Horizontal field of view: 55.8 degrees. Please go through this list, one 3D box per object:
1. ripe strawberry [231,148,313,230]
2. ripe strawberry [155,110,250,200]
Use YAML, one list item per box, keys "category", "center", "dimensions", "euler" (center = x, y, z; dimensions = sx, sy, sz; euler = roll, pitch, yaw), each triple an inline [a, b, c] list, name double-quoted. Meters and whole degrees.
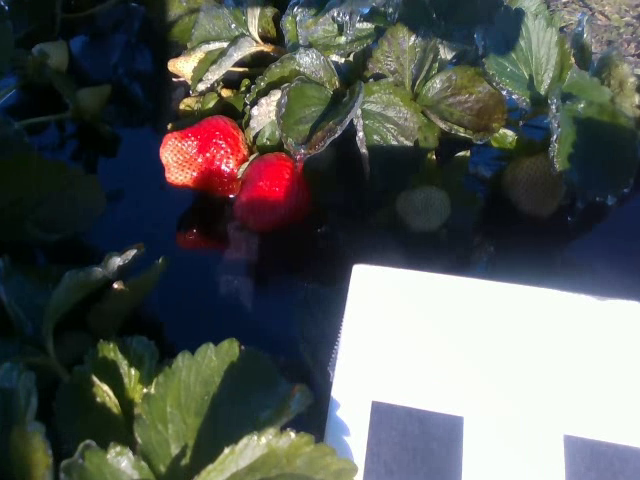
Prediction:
- category: "ripe strawberry"
  center: [-0.031, -0.033, 0.346]
  dimensions: [0.043, 0.059, 0.040]
  euler: [6, -36, 11]
- category: "ripe strawberry"
  center: [-0.073, -0.052, 0.375]
  dimensions: [0.069, 0.053, 0.040]
  euler: [-27, -25, -19]
